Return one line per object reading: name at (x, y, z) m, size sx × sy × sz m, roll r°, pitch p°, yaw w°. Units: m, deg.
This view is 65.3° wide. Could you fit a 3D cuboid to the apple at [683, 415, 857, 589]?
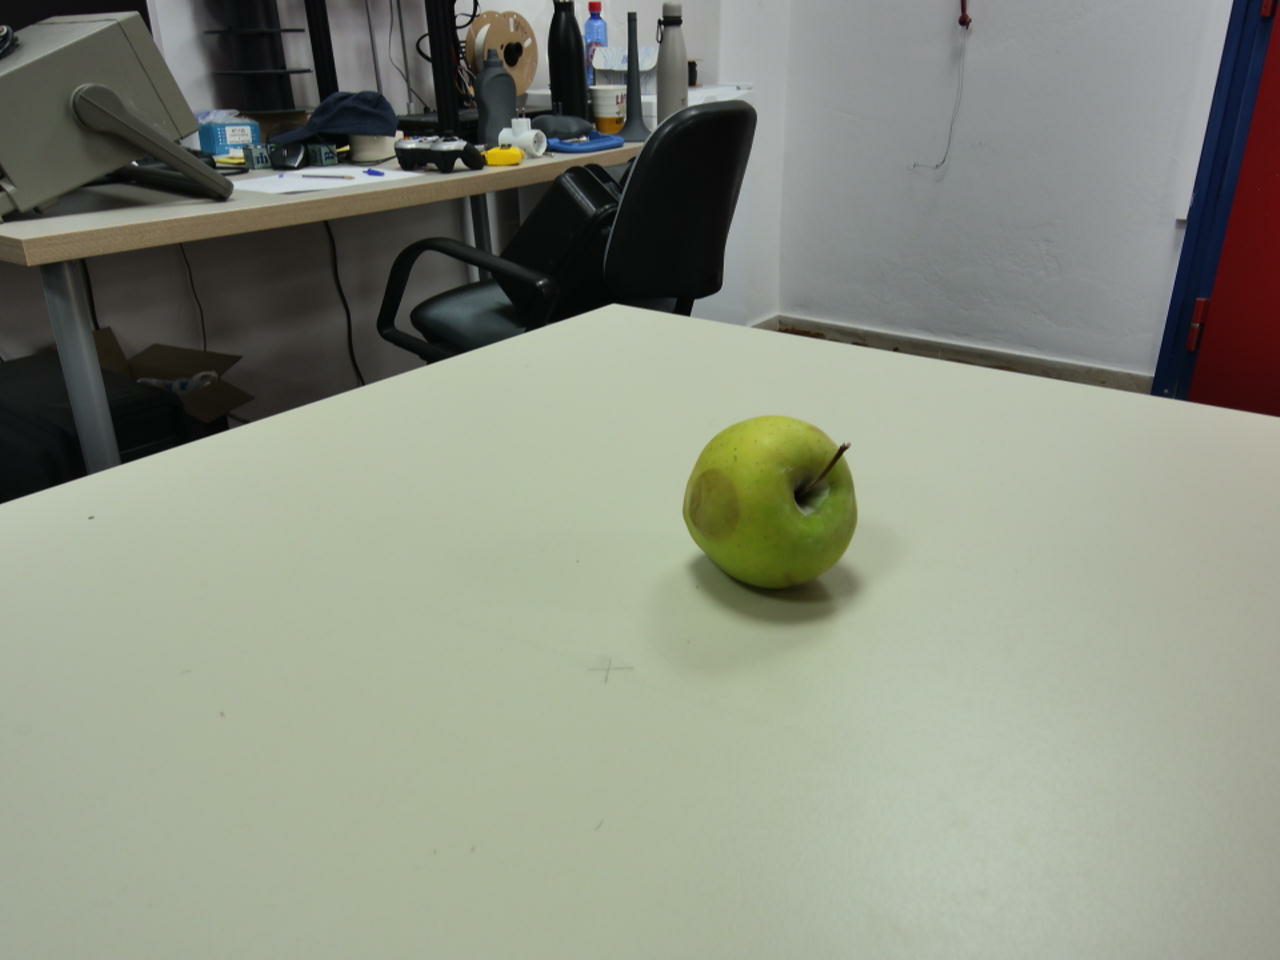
apple at (0.057, 0.008, 0.439) m, size 0.072 × 0.075 × 0.077 m, roll -2°, pitch 23°, yaw -7°
